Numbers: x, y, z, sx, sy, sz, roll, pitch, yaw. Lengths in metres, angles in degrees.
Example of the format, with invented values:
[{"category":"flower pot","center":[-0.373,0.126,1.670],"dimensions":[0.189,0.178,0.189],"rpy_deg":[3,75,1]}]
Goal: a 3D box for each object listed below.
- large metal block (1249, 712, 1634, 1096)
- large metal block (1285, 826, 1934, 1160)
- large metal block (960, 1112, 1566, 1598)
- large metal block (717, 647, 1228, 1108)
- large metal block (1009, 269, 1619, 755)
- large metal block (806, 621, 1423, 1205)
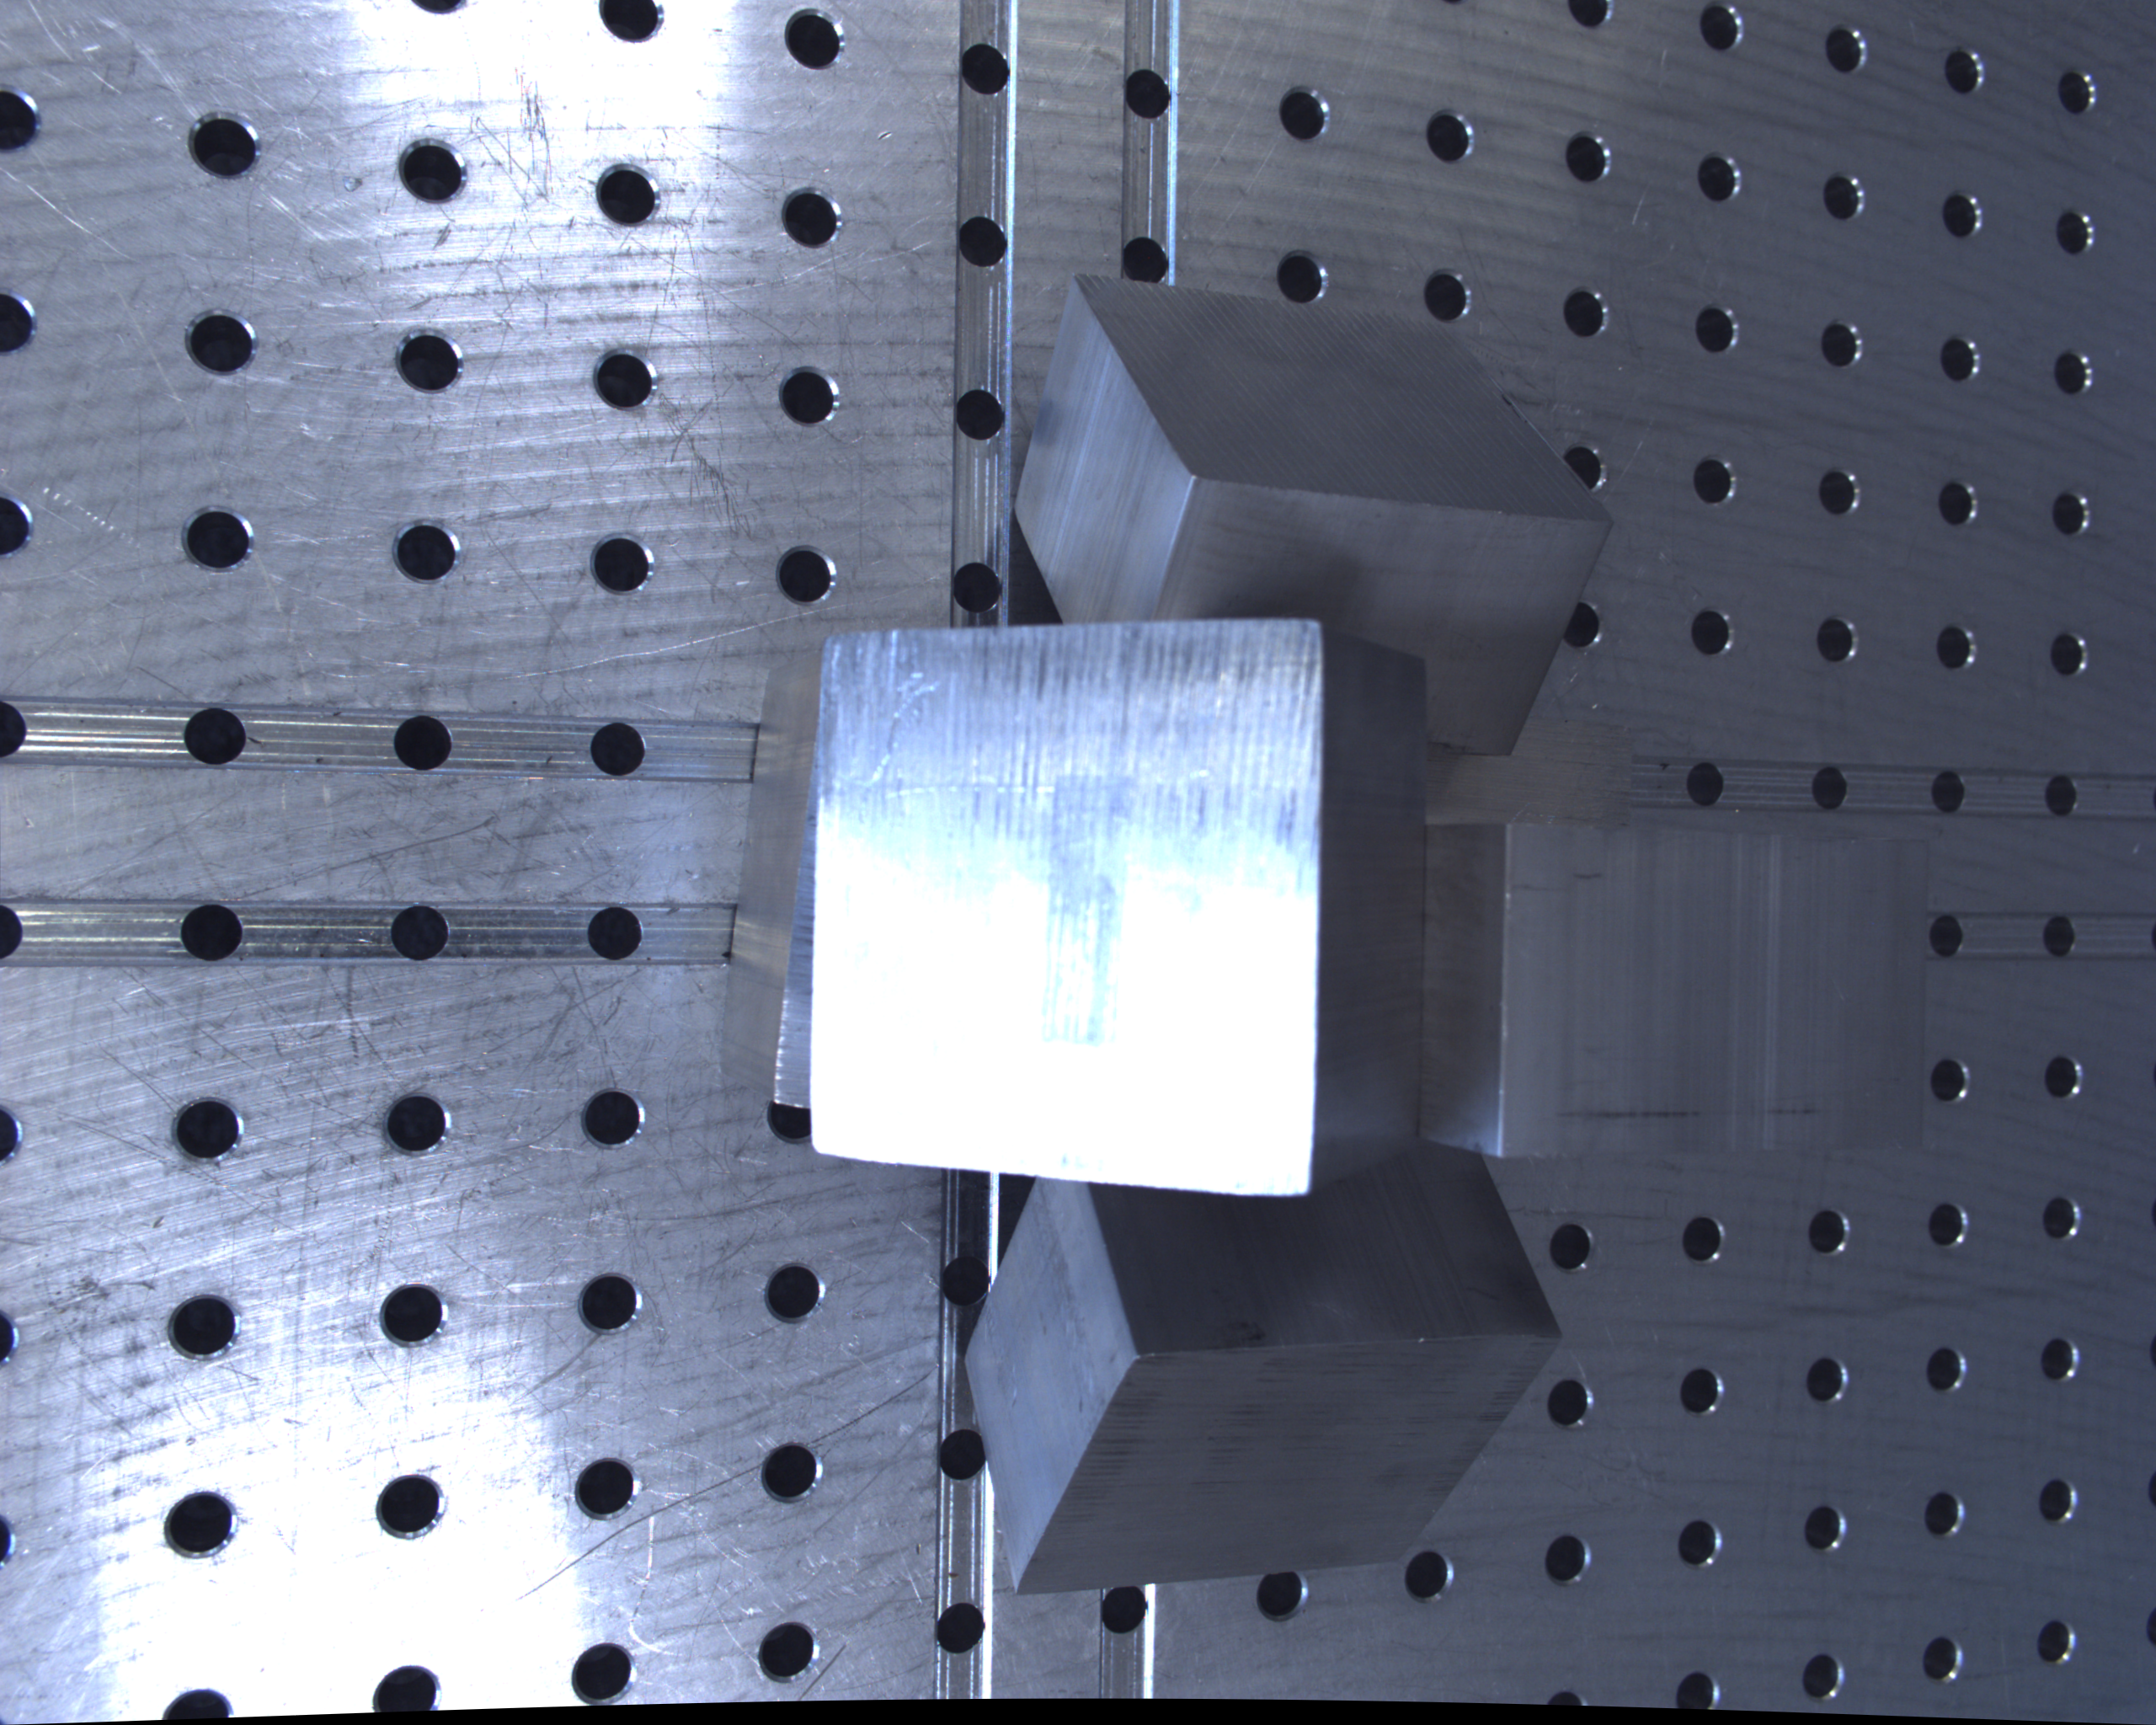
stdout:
[{"category":"large metal block","center":[0.062,0.010,0.421],"dimensions":[0.081,0.050,0.080],"rpy_deg":[3,89,-20]},{"category":"large metal block","center":[0.087,0.020,0.362],"dimensions":[0.081,0.080,0.050],"rpy_deg":[2,89,-20]},{"category":"large metal block","center":[0.030,0.091,0.388],"dimensions":[0.081,0.050,0.079],"rpy_deg":[2,134,-20]},{"category":"large metal block","center":[-0.019,0.006,0.393],"dimensions":[0.081,0.050,0.080],"rpy_deg":[7,88,-20]},{"category":"large metal block","center":[0.040,-0.066,0.390],"dimensions":[0.081,0.080,0.050],"rpy_deg":[2,128,-20]},{"category":"large metal block","center":[0.007,0.006,0.324],"dimensions":[0.080,0.050,0.080],"rpy_deg":[1,90,25]}]
